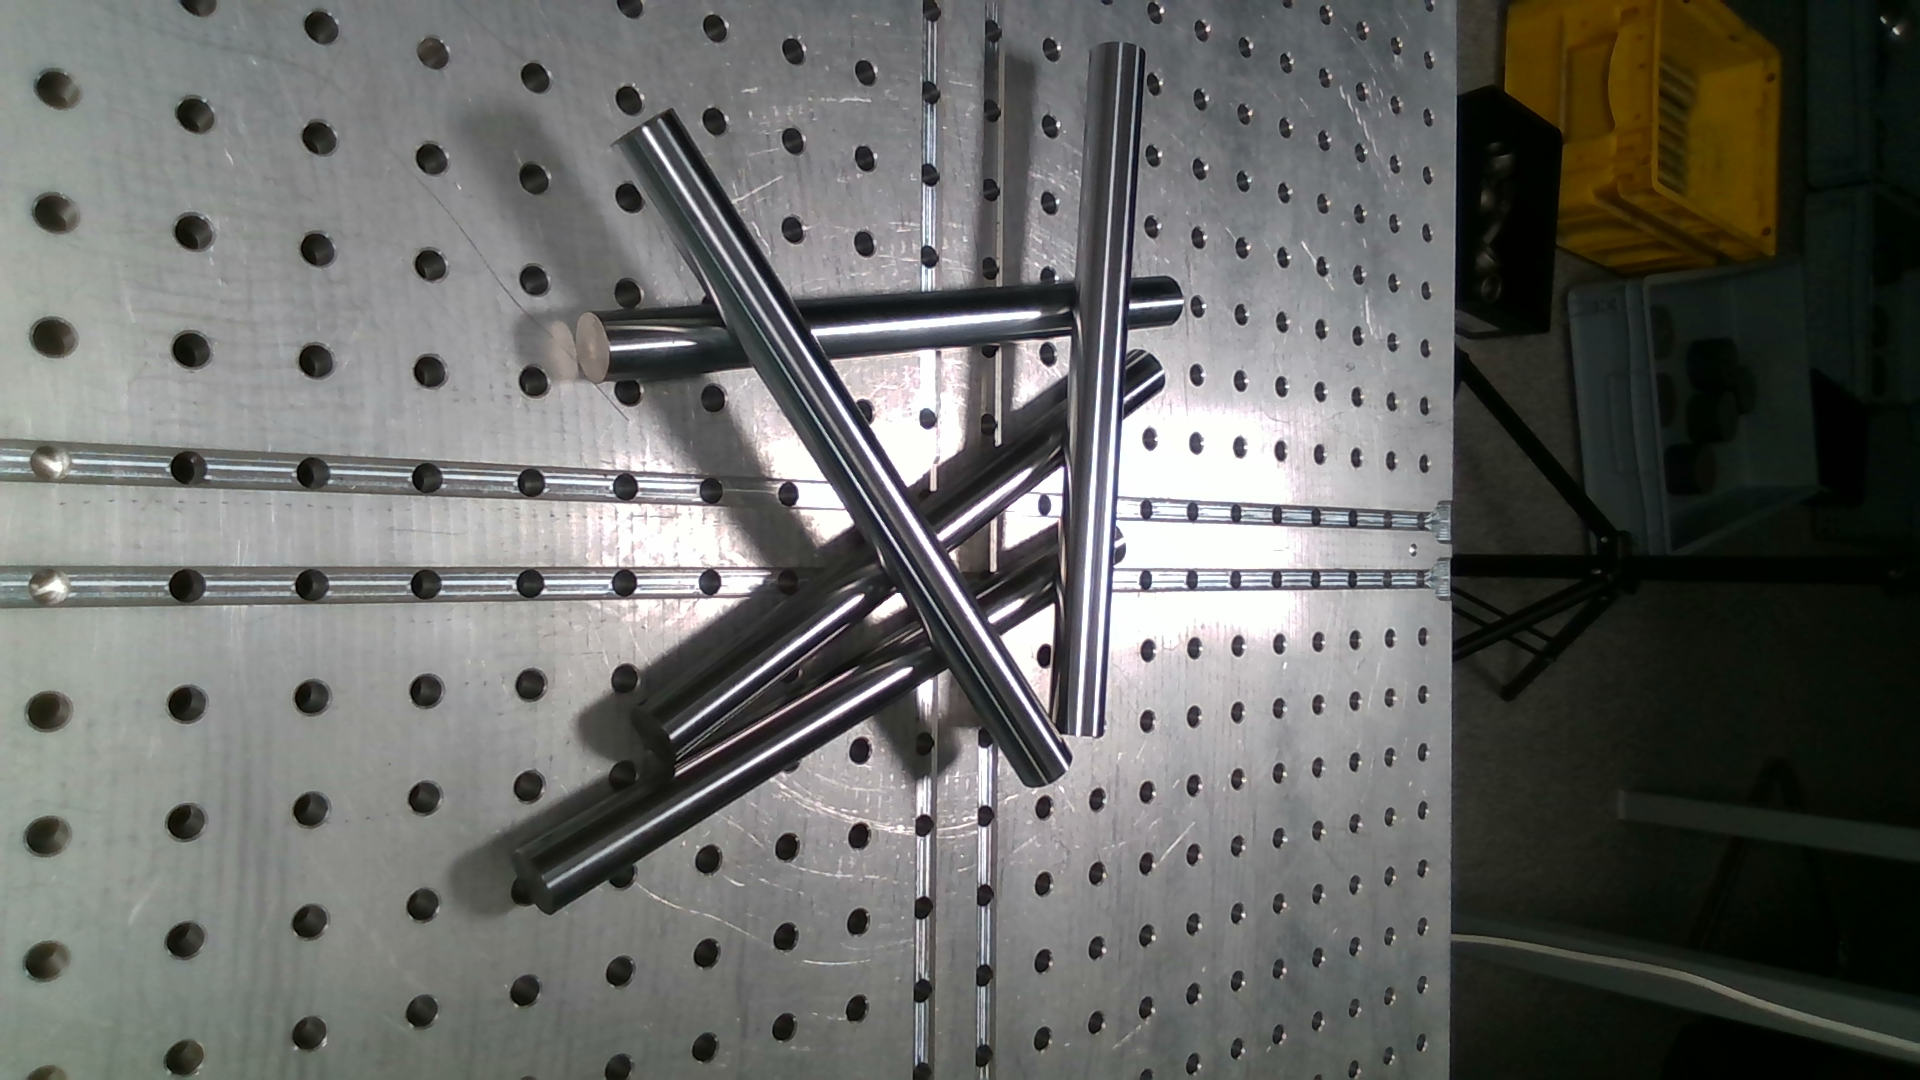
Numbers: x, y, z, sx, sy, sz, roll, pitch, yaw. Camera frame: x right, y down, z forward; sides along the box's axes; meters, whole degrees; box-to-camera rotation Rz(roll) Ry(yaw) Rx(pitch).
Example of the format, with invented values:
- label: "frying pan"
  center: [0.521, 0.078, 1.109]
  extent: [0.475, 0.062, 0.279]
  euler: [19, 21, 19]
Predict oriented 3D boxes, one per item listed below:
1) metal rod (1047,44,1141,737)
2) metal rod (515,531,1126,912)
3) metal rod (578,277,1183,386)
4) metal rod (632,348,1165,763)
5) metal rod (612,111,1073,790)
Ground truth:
- label: "metal rod"
  center: [0.059, -0.065, 0.603]
  extent: [0.025, 0.025, 0.300]
  euler: [6, 86, -40]
- label: "metal rod"
  center: [-0.038, 0.057, 0.554]
  extent: [0.300, 0.025, 0.025]
  euler: [-29, 108, -37]
- label: "metal rod"
  center: [-0.014, -0.091, 0.573]
  extent: [0.300, 0.025, 0.025]
  euler: [-12, 98, -40]
- label: "metal rod"
  center: [-0.011, -0.005, 0.576]
  extent: [0.299, 0.025, 0.025]
  euler: [-37, 113, -34]
- label: "metal rod"
  center: [-0.035, -0.020, 0.523]
  extent: [0.025, 0.025, 0.301]
  euler: [-46, 118, -30]
